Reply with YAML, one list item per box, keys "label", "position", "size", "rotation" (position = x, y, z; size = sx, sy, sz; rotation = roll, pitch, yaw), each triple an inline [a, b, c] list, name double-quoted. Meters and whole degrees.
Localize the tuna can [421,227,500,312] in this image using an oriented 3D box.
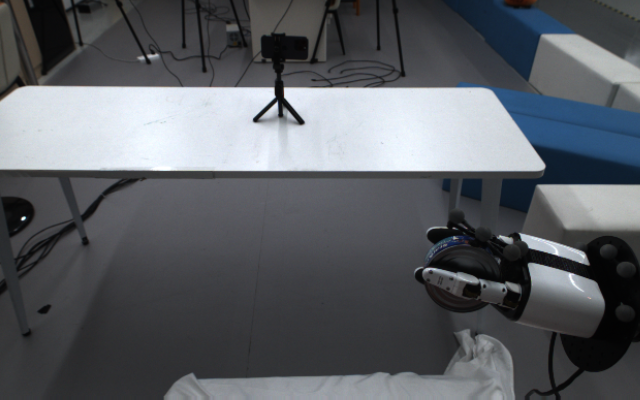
- label: "tuna can"
  position: [0.167, 0.083, 0.563]
  size: [0.085, 0.085, 0.034]
  rotation: [7, 16, 7]
